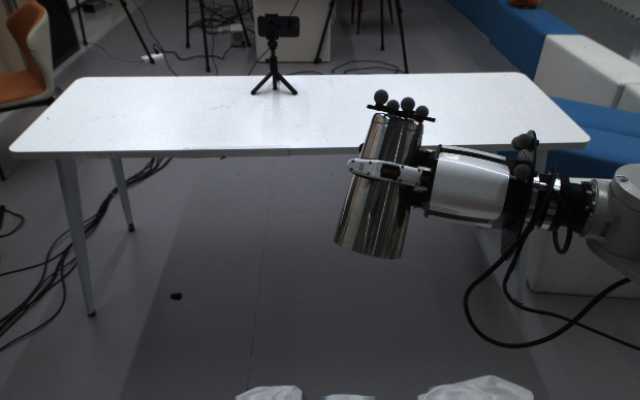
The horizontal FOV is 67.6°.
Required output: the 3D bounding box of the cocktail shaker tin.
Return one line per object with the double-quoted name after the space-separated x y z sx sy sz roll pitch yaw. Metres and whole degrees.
0.082 -0.020 0.622 0.093 0.170 0.093 13 7 -2 "cocktail shaker tin"
